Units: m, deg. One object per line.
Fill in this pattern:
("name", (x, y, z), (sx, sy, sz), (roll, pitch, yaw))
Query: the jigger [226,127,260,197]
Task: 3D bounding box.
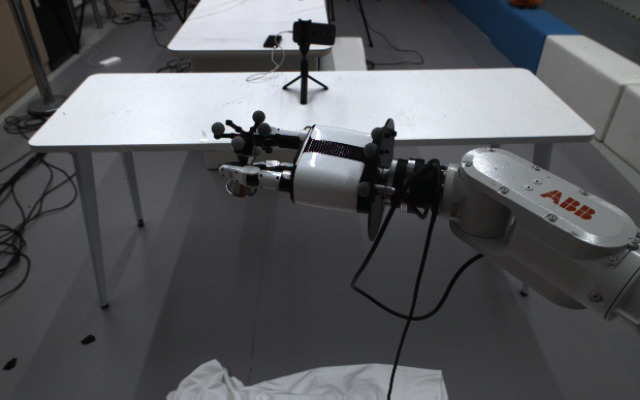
("jigger", (-0.107, -0.044, 0.666), (0.043, 0.071, 0.043), (10, 36, -7))
